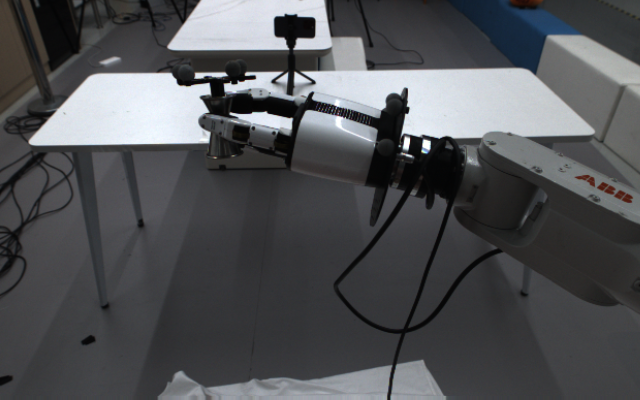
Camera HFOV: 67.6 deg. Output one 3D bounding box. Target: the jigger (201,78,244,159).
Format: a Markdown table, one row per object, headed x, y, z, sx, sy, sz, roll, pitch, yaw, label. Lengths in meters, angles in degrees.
| x | y | z | sx | sy | sz | roll | pitch | yaw | label |
| --- | --- | --- | --- | --- | --- | --- | --- | --- | --- |
| -0.112 | -0.084 | 0.553 | 0.043 | 0.071 | 0.043 | -2 | 19 | 1 | jigger |
